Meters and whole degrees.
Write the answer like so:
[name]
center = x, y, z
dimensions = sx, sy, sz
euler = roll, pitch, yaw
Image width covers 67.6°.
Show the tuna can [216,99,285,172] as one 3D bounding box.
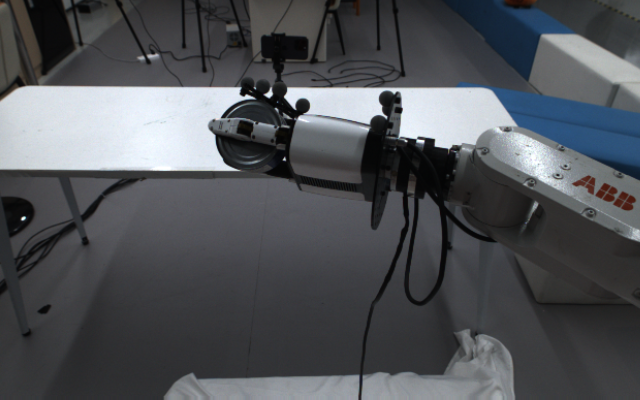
[tuna can]
center = -0.079, -0.078, 0.588
dimensions = 0.085, 0.085, 0.034
euler = 13, -6, 16
